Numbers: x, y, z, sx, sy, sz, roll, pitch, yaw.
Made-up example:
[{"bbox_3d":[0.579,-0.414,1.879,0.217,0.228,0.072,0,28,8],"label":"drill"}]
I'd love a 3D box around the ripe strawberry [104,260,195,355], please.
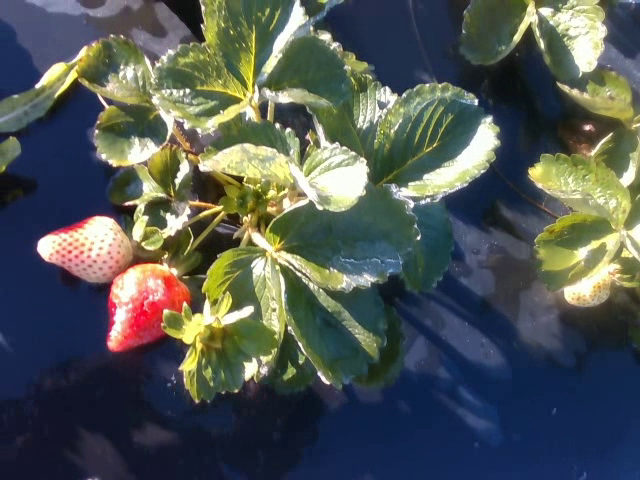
[{"bbox_3d":[-0.084,0.034,0.276,0.040,0.037,0.055,7,26,18],"label":"ripe strawberry"}]
